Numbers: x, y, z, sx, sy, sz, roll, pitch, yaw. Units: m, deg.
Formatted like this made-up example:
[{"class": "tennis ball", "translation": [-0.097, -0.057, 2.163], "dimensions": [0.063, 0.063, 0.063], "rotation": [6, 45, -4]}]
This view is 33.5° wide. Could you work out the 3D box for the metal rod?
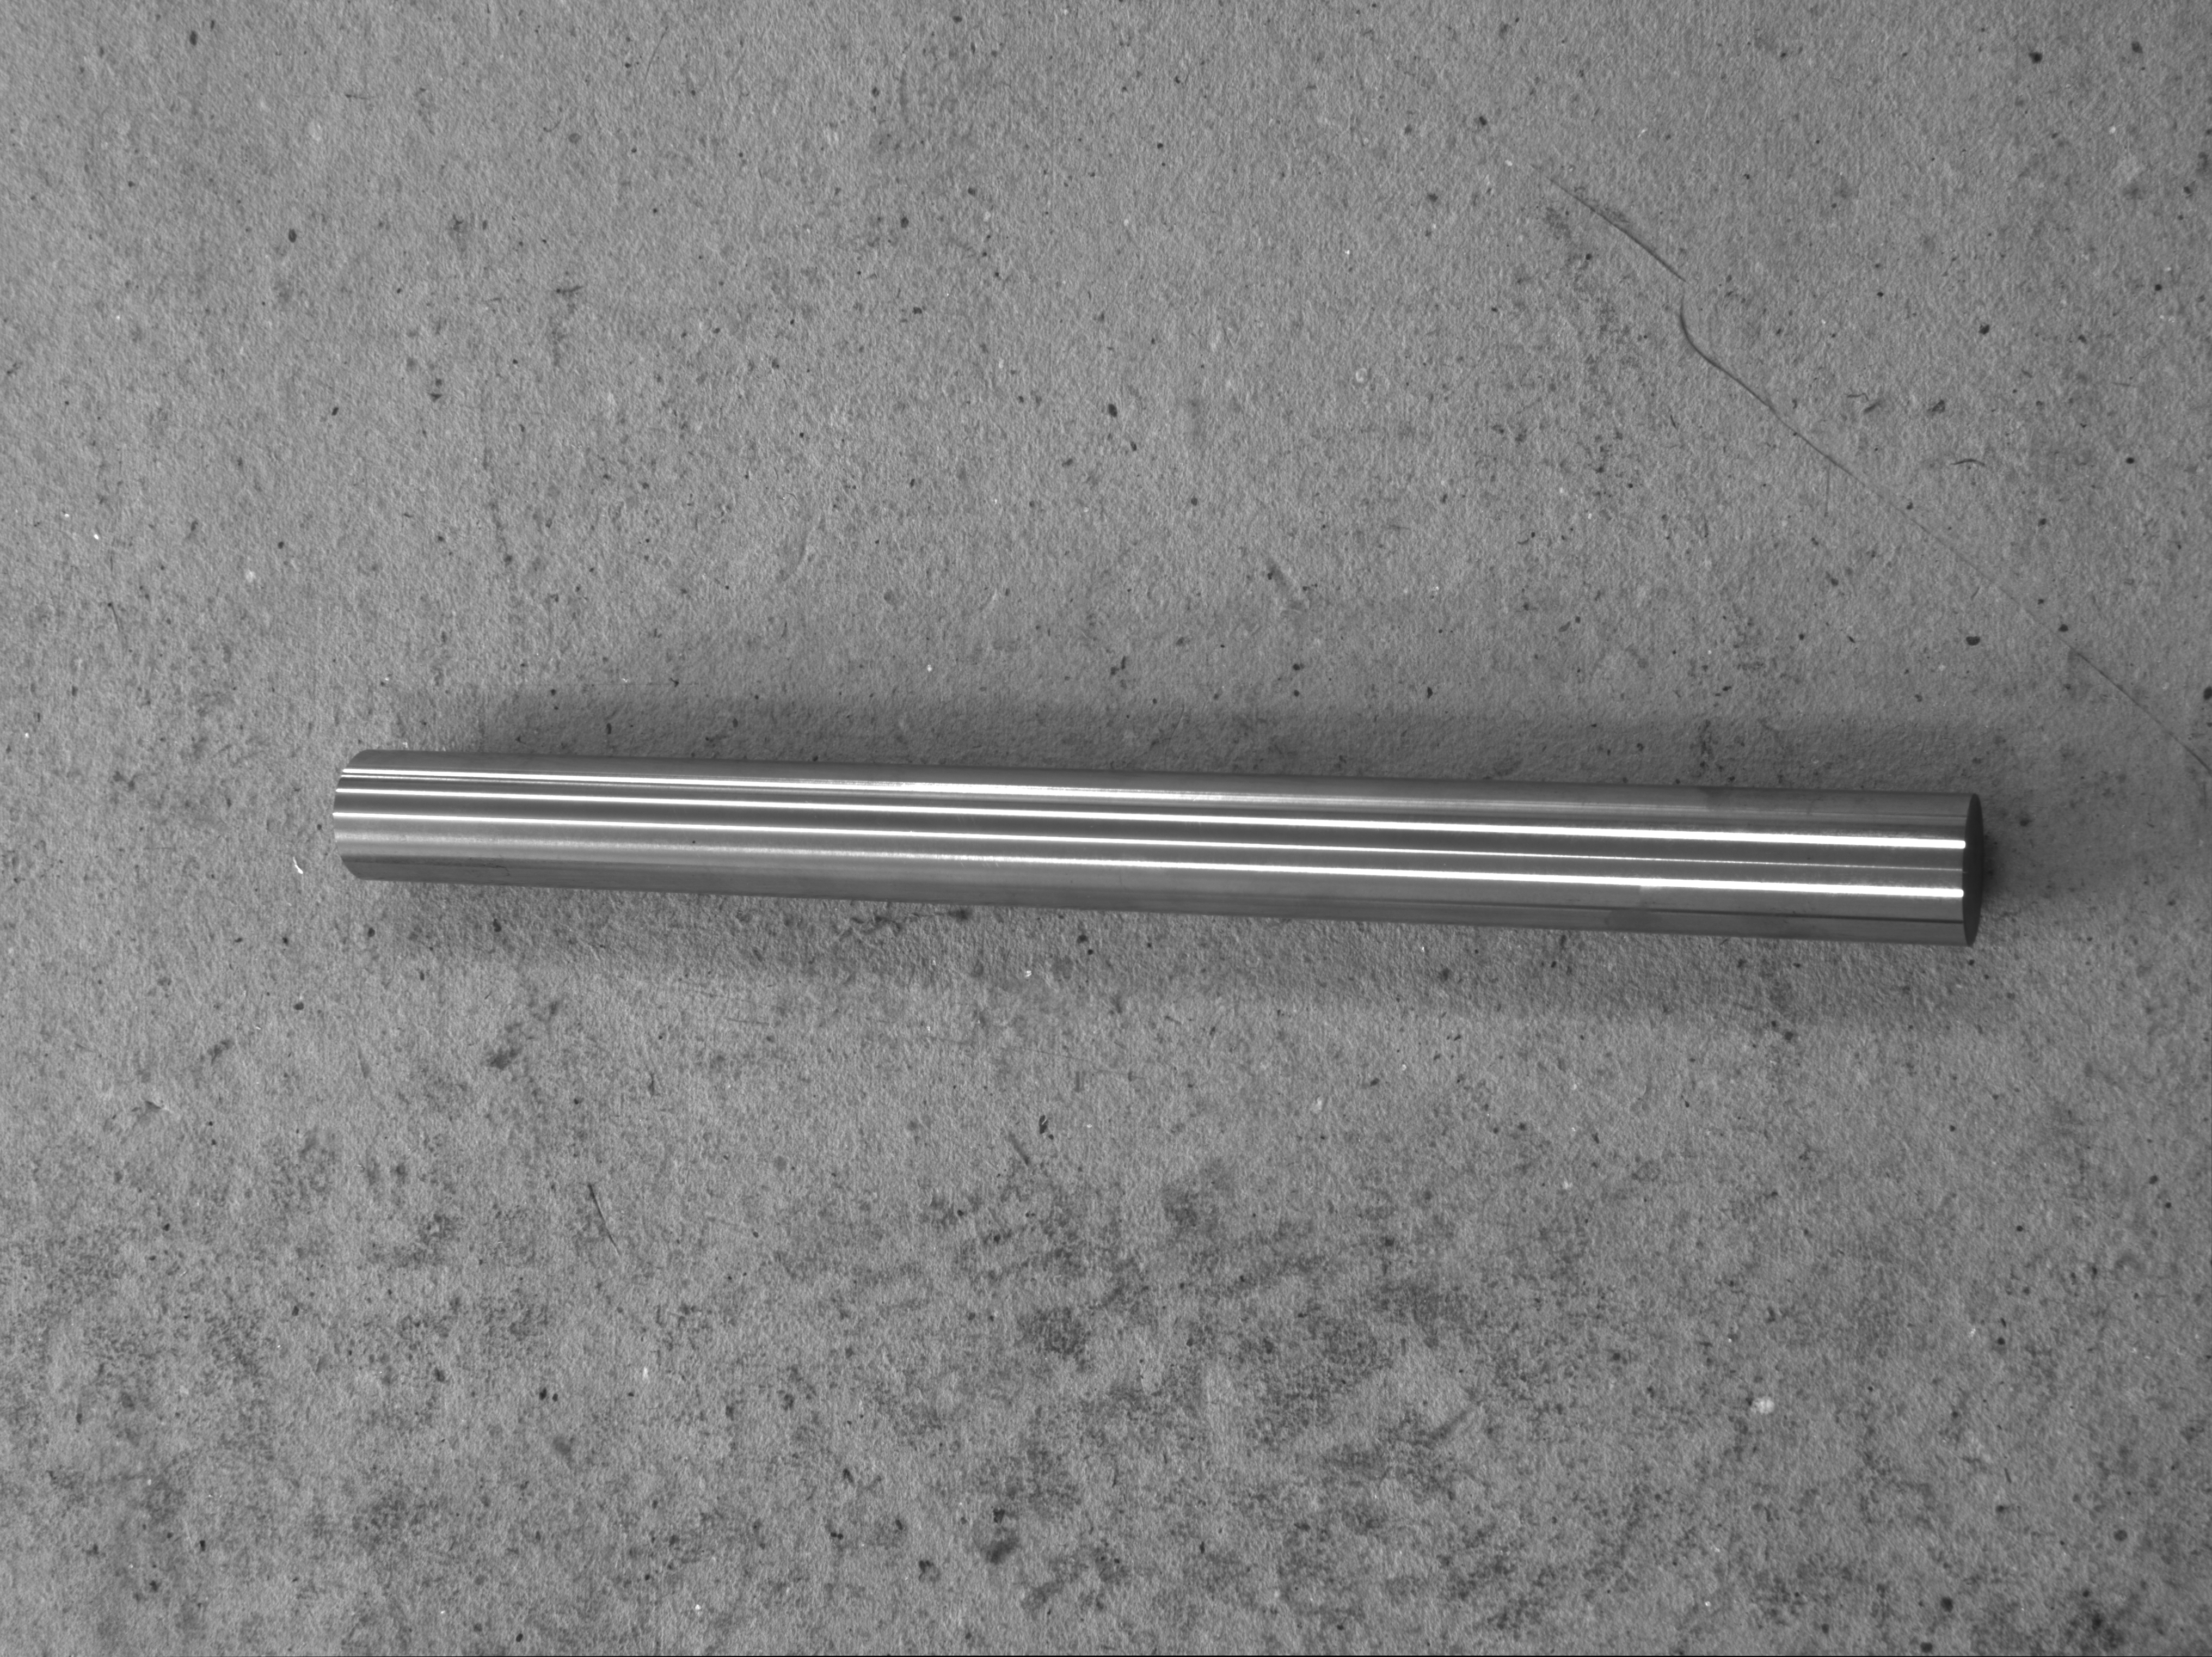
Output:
[{"class": "metal rod", "translation": [-0.001, 0.002, 0.647], "dimensions": [0.299, 0.025, 0.025], "rotation": [2, 91, 20]}]
